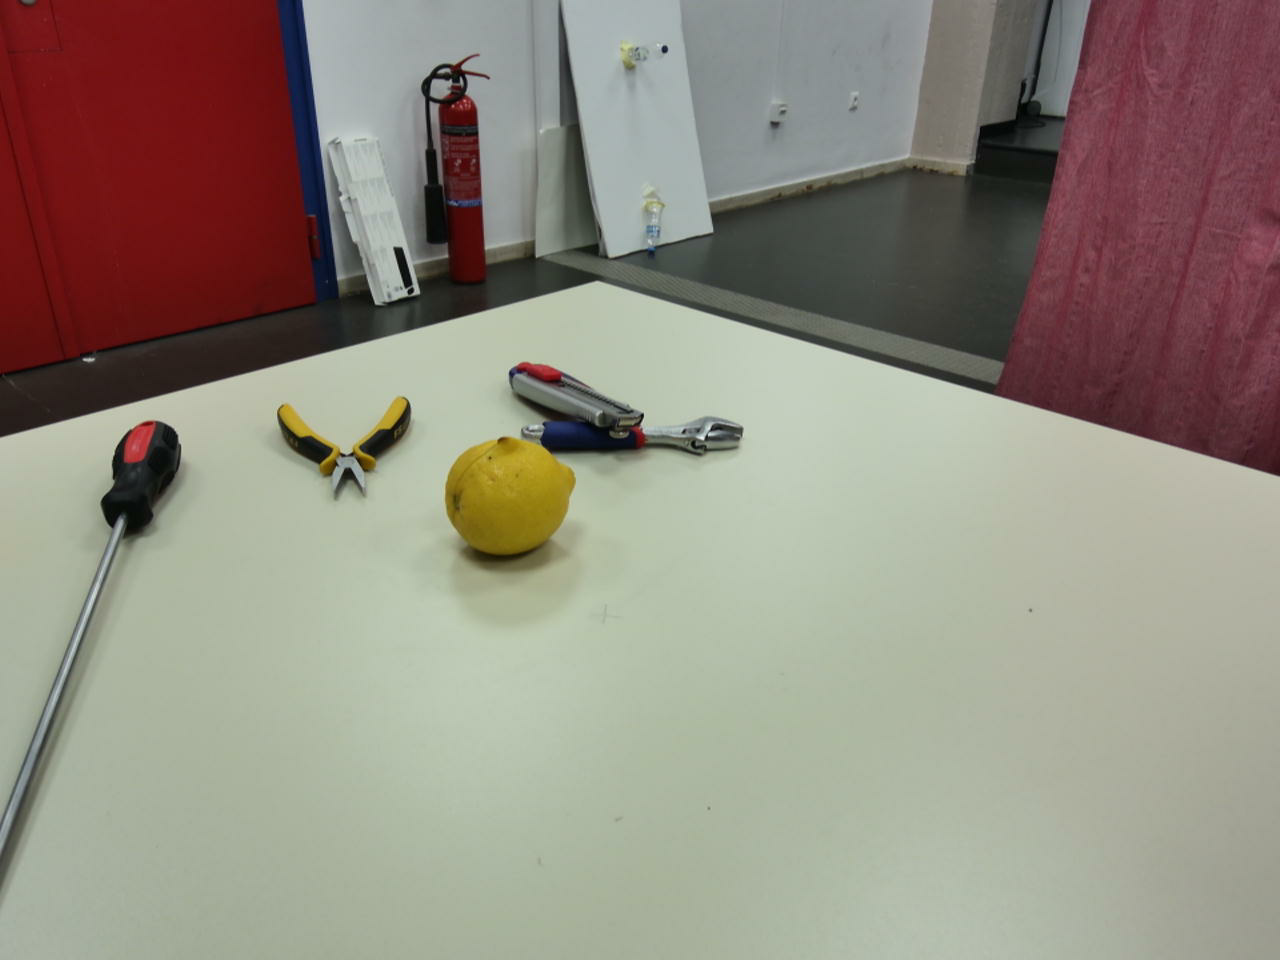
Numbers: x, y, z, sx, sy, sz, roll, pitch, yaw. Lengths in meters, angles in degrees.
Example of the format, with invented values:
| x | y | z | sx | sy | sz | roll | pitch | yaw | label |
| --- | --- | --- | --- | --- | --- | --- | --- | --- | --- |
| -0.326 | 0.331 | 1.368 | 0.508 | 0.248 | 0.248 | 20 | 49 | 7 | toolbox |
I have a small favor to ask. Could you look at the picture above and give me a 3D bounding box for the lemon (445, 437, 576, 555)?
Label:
| x | y | z | sx | sy | sz | roll | pitch | yaw | label |
| --- | --- | --- | --- | --- | --- | --- | --- | --- | --- |
| -0.077 | 0.007 | 0.578 | 0.071 | 0.071 | 0.070 | 4 | 26 | 7 | lemon |
